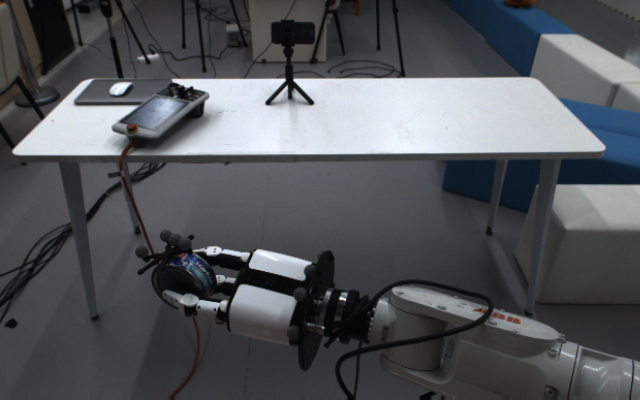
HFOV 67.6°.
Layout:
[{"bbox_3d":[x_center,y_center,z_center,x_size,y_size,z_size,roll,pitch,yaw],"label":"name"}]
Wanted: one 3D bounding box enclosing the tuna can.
[{"bbox_3d":[-0.187,0.120,0.674,0.085,0.085,0.034,11,35,13],"label":"tuna can"}]
